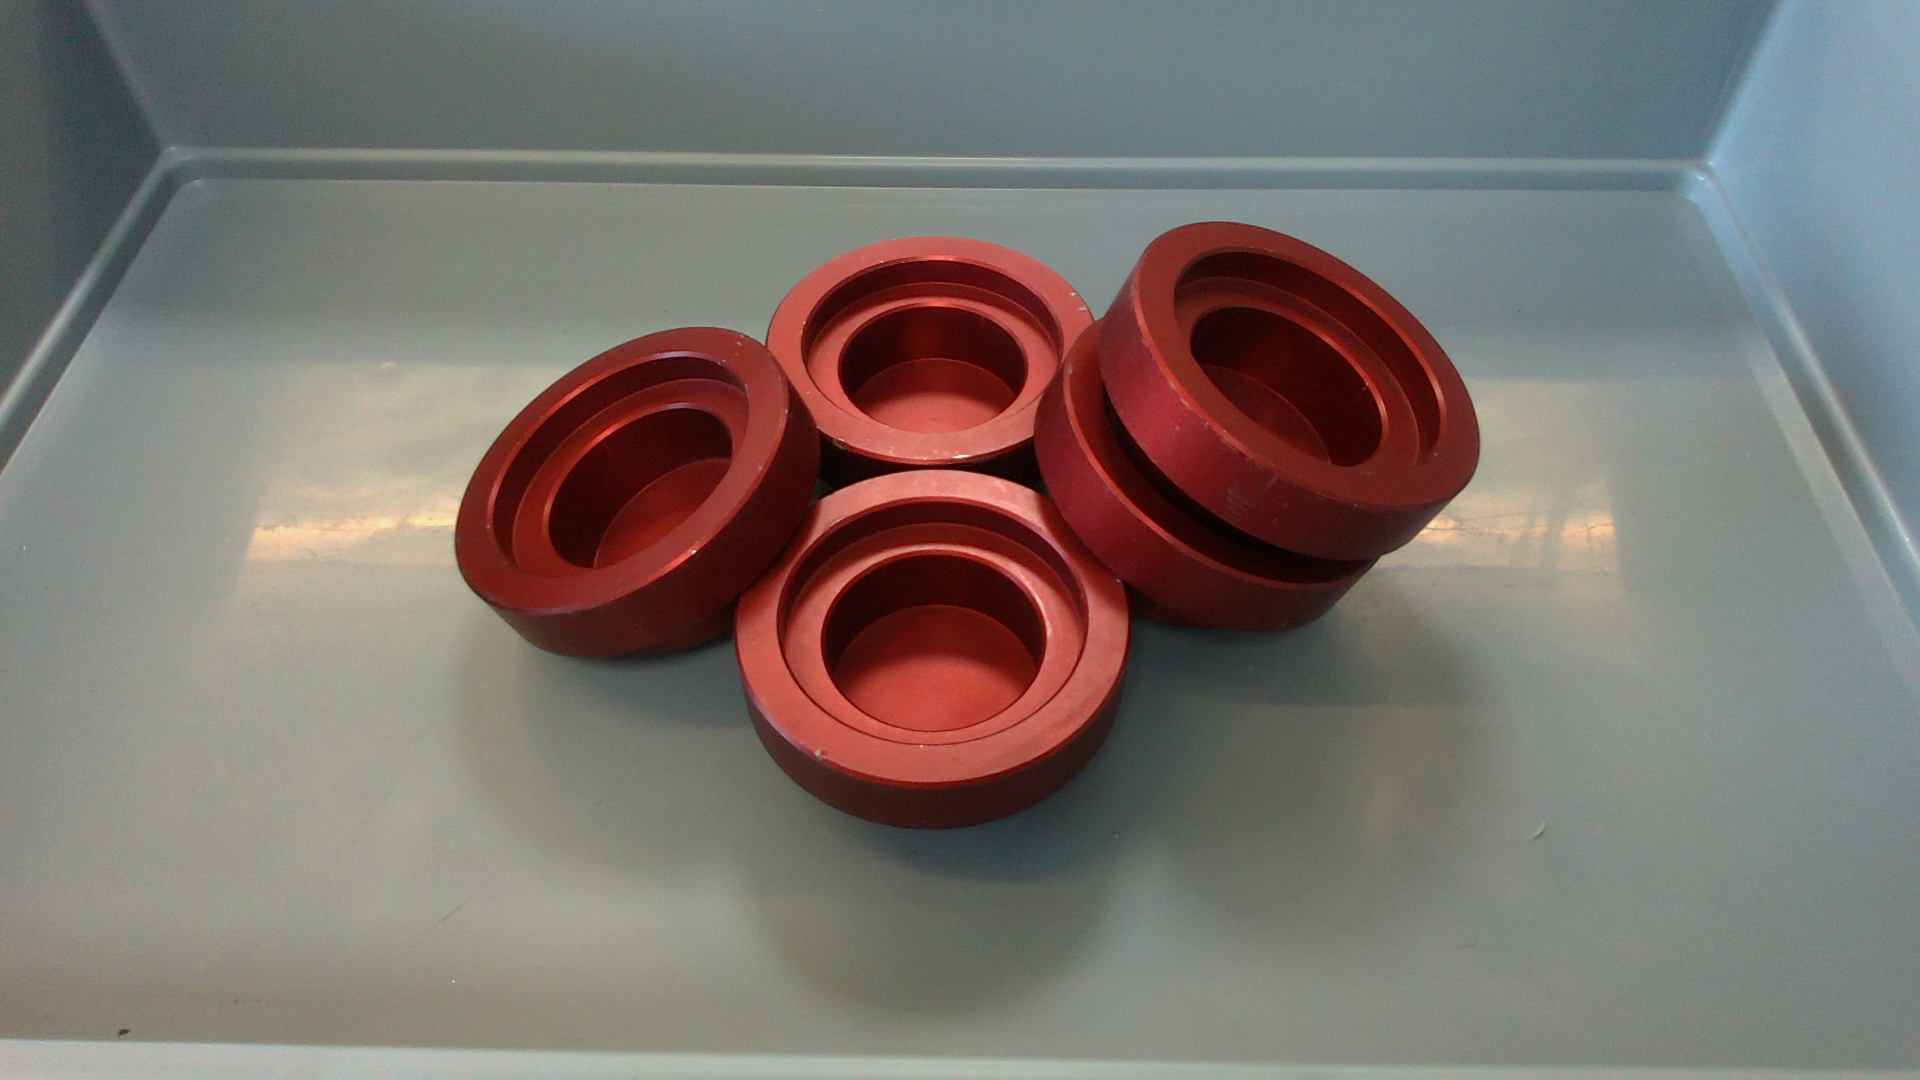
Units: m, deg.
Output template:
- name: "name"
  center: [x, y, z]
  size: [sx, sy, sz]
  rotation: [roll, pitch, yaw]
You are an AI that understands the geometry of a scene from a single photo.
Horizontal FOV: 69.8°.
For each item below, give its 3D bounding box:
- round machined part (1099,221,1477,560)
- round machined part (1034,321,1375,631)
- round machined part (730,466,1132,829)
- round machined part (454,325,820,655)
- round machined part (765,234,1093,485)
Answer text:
- name: "round machined part"
  center: [0.080, -0.034, 0.357]
  size: [0.098, 0.042, 0.098]
  rotation: [15, 48, -16]
- name: "round machined part"
  center: [0.065, -0.015, 0.378]
  size: [0.098, 0.042, 0.098]
  rotation: [15, 47, -16]
- name: "round machined part"
  center: [-0.007, 0.031, 0.352]
  size: [0.098, 0.042, 0.098]
  rotation: [0, 50, 0]
- name: "round machined part"
  center: [-0.082, -0.009, 0.373]
  size: [0.098, 0.042, 0.098]
  rotation: [-14, 47, 16]
- name: "round machined part"
  center: [-0.008, -0.046, 0.417]
  size: [0.098, 0.042, 0.098]
  rotation: [0, 50, 0]
